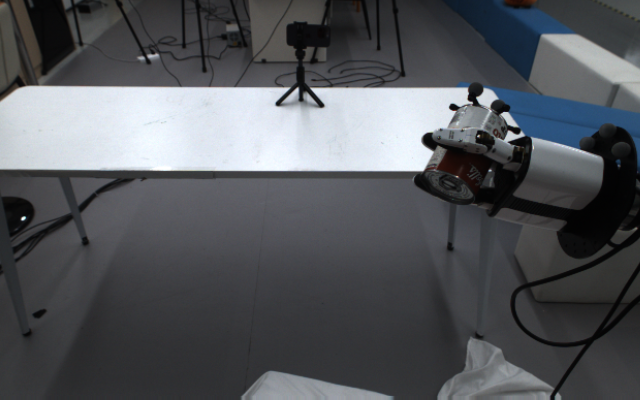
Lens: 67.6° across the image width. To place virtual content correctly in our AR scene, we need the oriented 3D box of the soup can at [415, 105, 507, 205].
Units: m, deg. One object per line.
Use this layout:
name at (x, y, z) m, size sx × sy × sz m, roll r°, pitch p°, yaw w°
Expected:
soup can at (0.174, -0.055, 0.573) m, size 0.067 × 0.067 × 0.101 m, roll 22°, pitch 71°, yaw 26°
